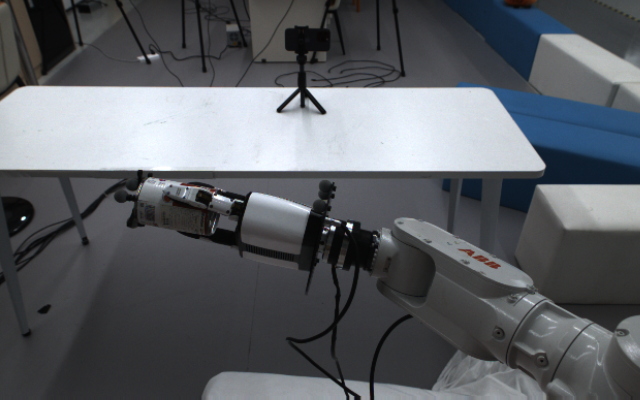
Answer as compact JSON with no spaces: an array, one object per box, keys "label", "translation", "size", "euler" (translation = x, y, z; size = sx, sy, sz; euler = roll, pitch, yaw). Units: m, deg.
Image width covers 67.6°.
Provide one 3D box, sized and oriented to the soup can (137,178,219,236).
[{"label":"soup can","translation":[-0.192,0.010,0.667],"size":[0.101,0.067,0.067],"euler":[10,35,-1]}]
